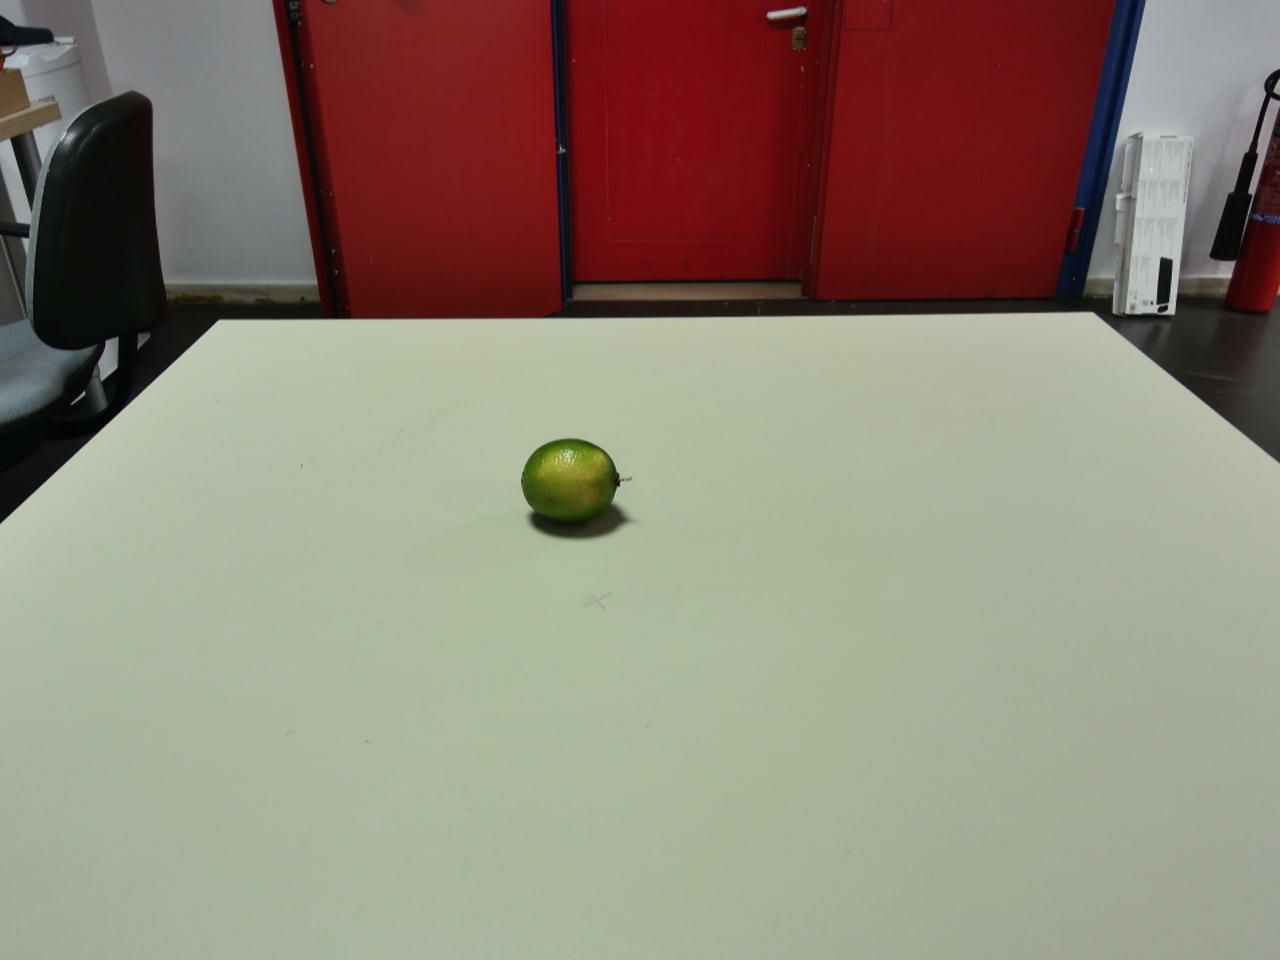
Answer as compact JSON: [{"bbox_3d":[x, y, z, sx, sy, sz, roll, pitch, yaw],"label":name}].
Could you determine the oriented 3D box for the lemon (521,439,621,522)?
[{"bbox_3d":[-0.043,0.001,0.608,0.054,0.050,0.055,-19,33,-35],"label":"lemon"}]
